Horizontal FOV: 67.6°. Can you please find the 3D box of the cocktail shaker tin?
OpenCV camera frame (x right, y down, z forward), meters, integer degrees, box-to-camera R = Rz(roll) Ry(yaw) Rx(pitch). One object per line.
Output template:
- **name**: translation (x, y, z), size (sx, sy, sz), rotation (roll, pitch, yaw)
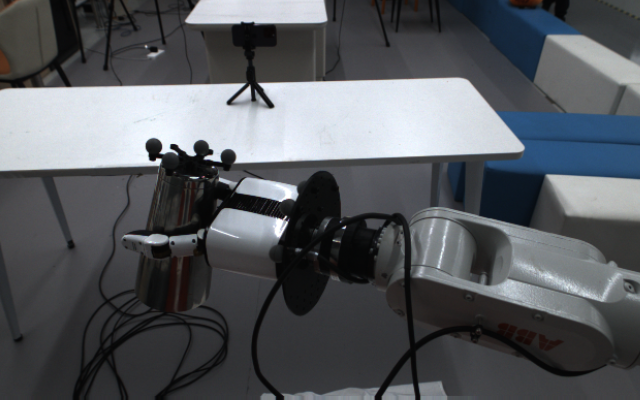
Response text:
- **cocktail shaker tin**: translation (-0.164, 0.037, 0.579), size (0.093, 0.170, 0.093), rotation (12, 24, -5)
